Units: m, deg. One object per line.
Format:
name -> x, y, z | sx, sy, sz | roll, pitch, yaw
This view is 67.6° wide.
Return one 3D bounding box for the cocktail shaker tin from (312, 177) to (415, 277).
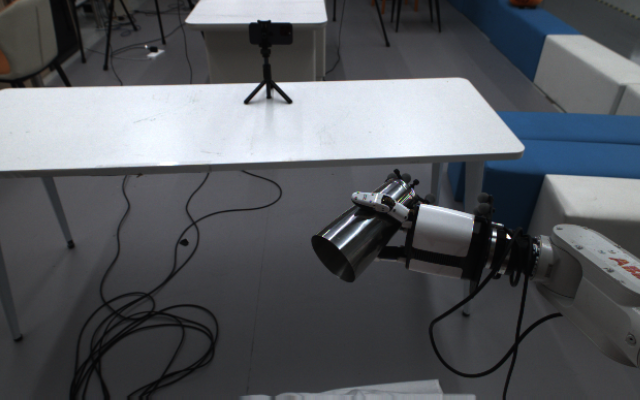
cocktail shaker tin -> 0.078, 0.035, 0.762 | 0.170, 0.093, 0.093 | -38, 50, -24
